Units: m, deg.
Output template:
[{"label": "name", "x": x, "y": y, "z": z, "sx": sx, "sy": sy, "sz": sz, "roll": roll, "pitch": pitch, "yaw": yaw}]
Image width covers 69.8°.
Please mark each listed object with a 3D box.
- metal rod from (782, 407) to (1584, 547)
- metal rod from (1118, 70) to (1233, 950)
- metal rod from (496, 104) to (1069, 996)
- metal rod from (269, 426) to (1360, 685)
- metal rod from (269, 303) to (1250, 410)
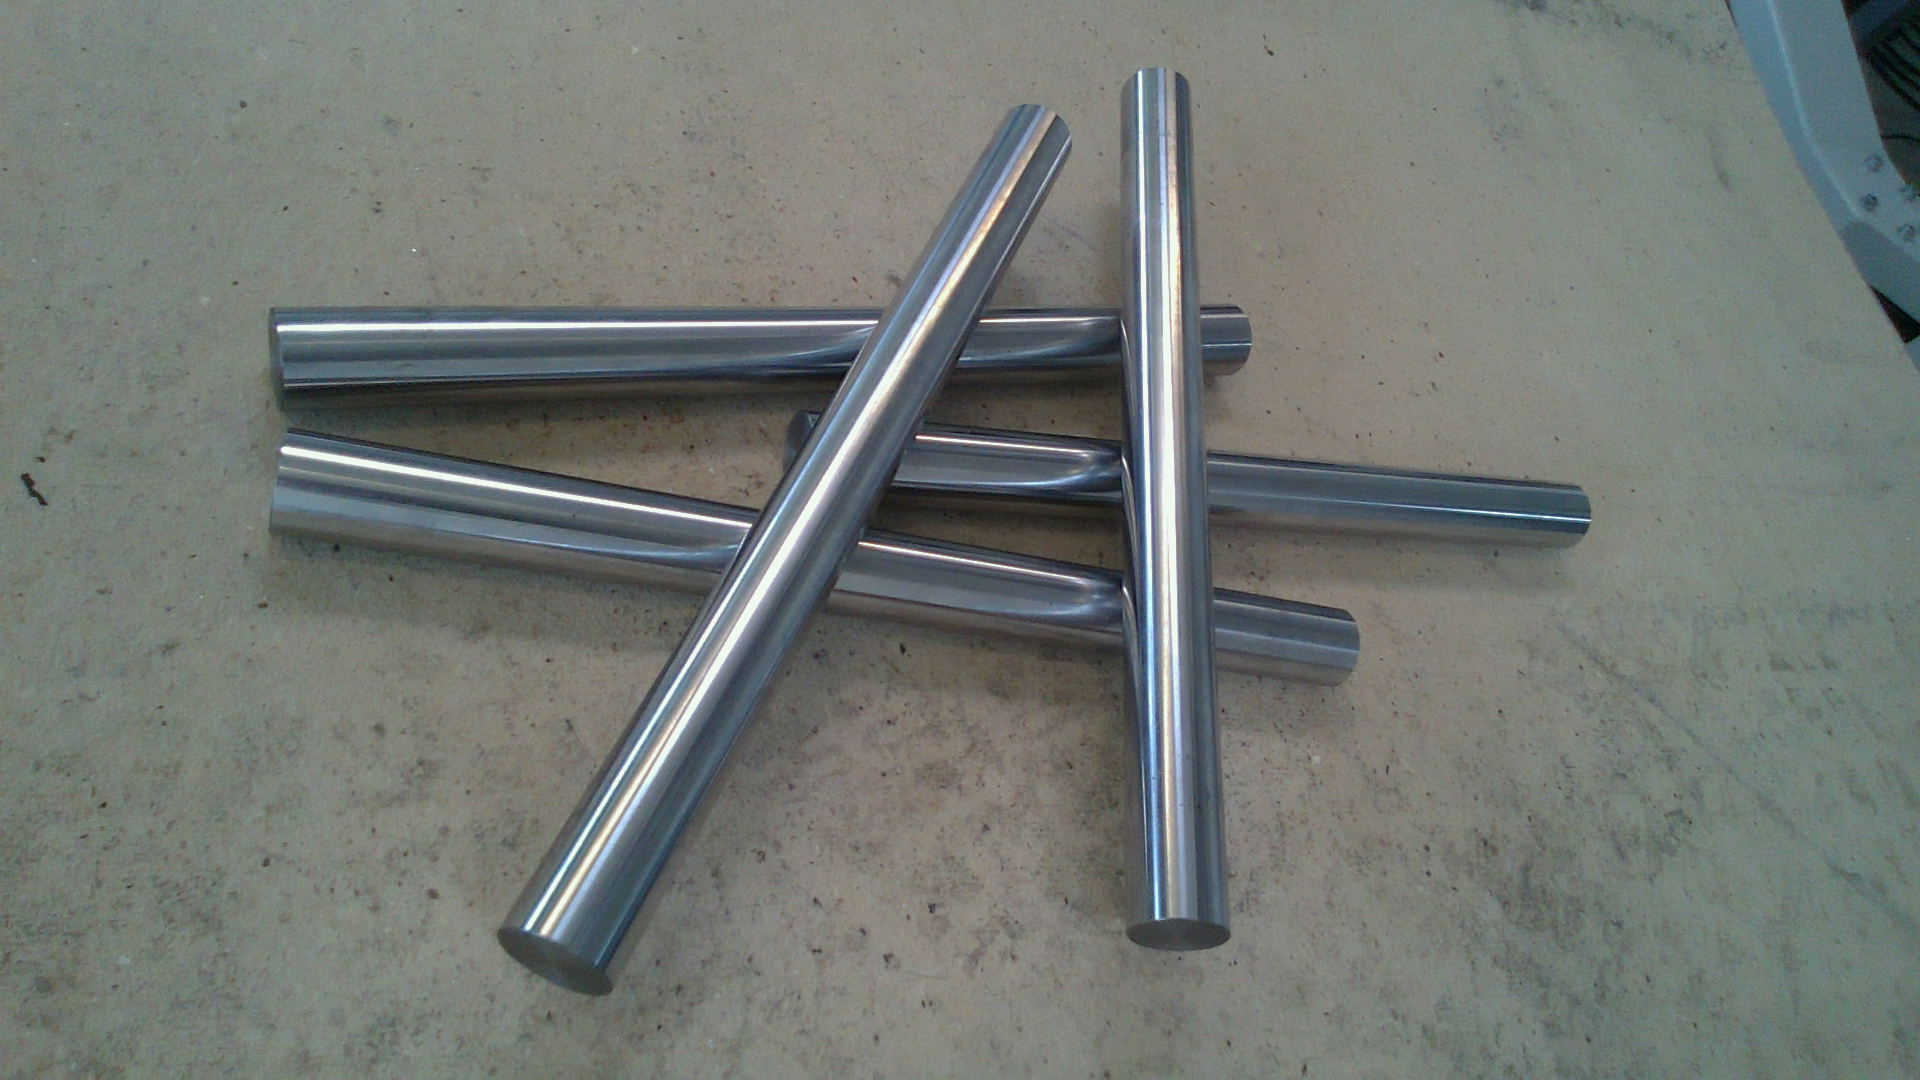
[{"label": "metal rod", "x": 0.089, "y": -0.017, "z": 0.448, "sx": 0.301, "sy": 0.025, "sz": 0.025, "roll": 3, "pitch": 60, "yaw": -27}, {"label": "metal rod", "x": 0.061, "y": -0.032, "z": 0.410, "sx": 0.025, "sy": 0.025, "sz": 0.300, "roll": 16, "pitch": 55, "yaw": -19}, {"label": "metal rod", "x": -0.027, "y": -0.025, "z": 0.358, "sx": 0.025, "sy": 0.025, "sz": 0.301, "roll": 32, "pitch": 51, "yaw": -8}, {"label": "metal rod", "x": -0.019, "y": 0.010, "z": 0.373, "sx": 0.301, "sy": 0.025, "sz": 0.025, "roll": 10, "pitch": 57, "yaw": -23}, {"label": "metal rod", "x": -0.035, "y": -0.057, "z": 0.406, "sx": 0.301, "sy": 0.025, "sz": 0.025, "roll": -6, "pitch": 65, "yaw": -31}]
